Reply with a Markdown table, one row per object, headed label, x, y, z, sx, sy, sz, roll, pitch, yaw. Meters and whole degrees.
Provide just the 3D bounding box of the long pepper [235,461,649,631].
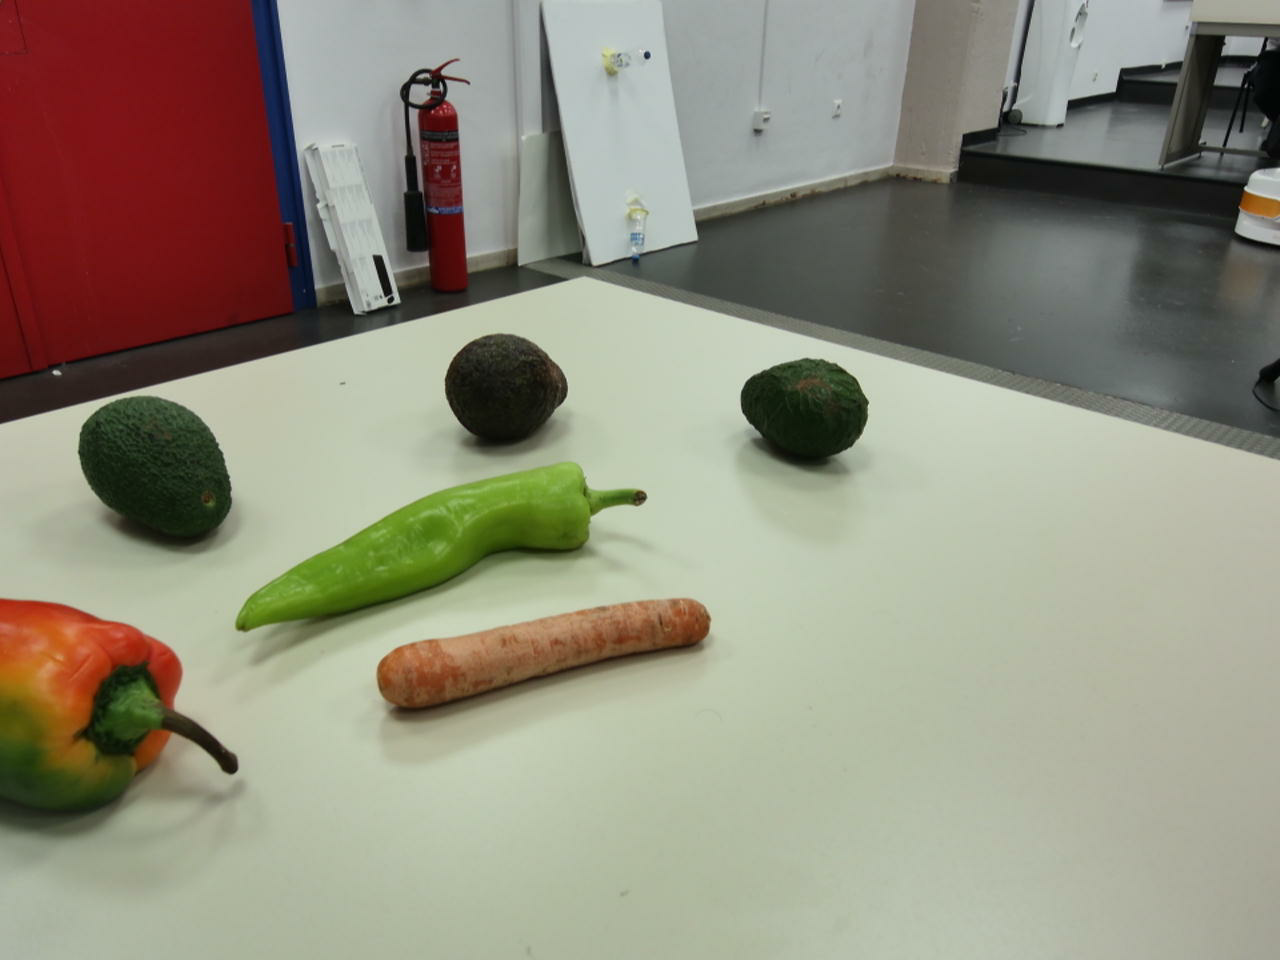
| label | x | y | z | sx | sy | sz | roll | pitch | yaw |
| --- | --- | --- | --- | --- | --- | --- | --- | --- | --- |
| long pepper | -0.098 | 0.029 | 0.493 | 0.204 | 0.045 | 0.065 | -15 | 29 | -30 |
